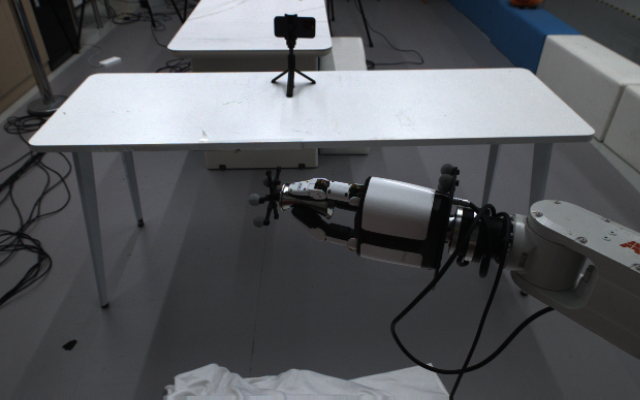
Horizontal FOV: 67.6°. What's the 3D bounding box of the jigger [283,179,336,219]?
[{"bbox_3d":[-0.011,-0.005,0.661,0.071,0.043,0.043,8,35,14],"label":"jigger"}]
